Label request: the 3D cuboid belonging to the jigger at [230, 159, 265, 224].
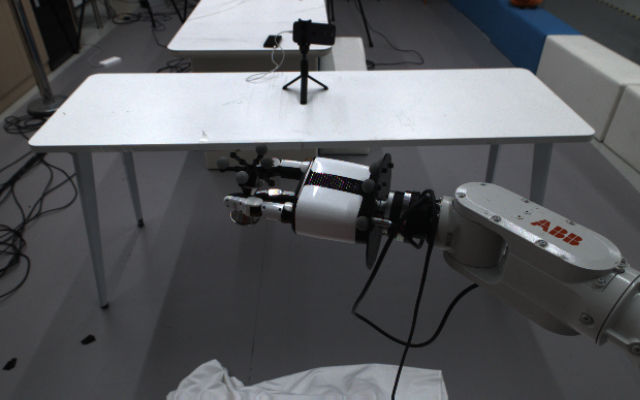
[{"bbox_3d":[-0.104,-0.003,0.695,0.043,0.071,0.043,10,36,-7],"label":"jigger"}]
